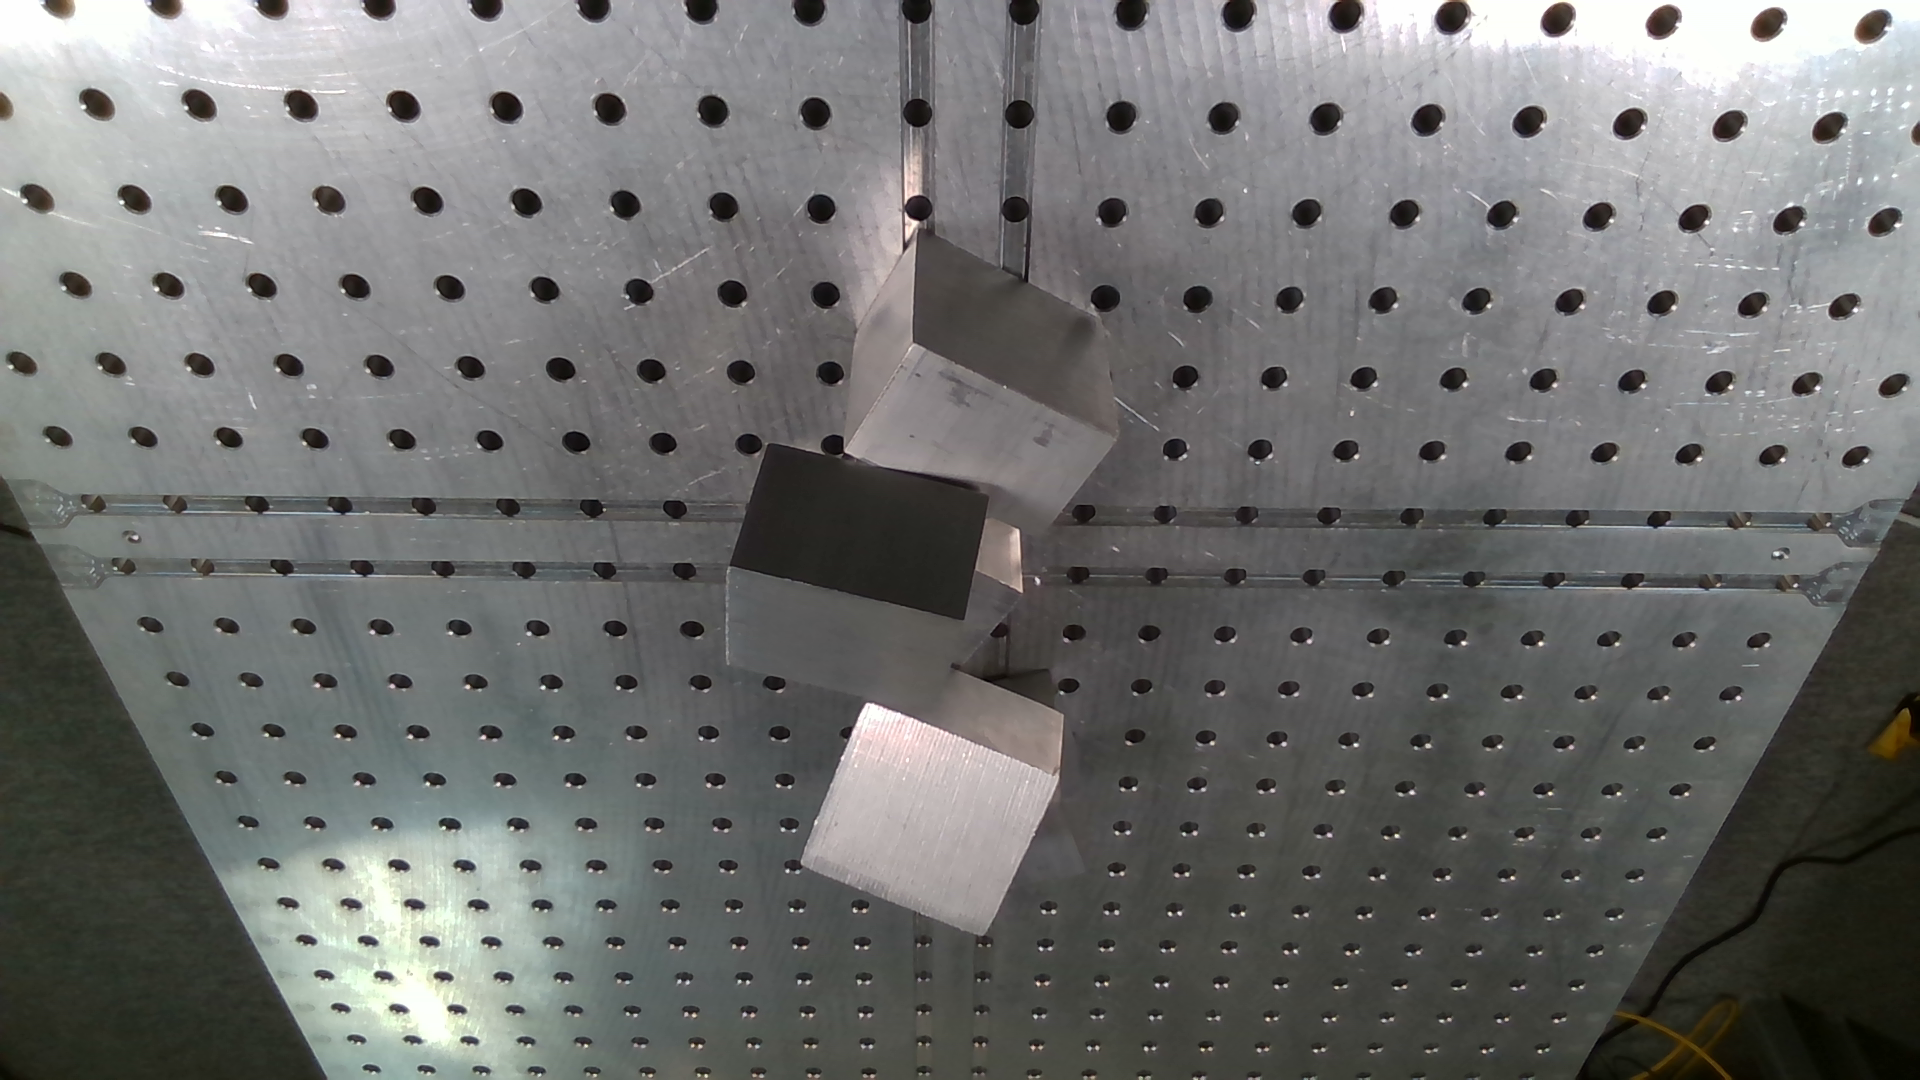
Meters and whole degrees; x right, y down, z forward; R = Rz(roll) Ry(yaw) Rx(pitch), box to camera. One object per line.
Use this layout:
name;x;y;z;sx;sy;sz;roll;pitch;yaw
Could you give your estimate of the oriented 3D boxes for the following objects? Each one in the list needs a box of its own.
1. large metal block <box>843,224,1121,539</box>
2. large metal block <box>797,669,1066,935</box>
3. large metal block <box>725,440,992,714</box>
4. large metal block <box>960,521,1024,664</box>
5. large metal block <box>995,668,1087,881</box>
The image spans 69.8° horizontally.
large metal block;0.007;-0.058;0.497;0.080;0.080;0.050;24;126;-19
large metal block;-0.011;0.100;0.560;0.080;0.050;0.080;22;112;-2
large metal block;-0.038;0.016;0.494;0.080;0.050;0.080;13;150;-2
large metal block;-0.029;0.015;0.578;0.080;0.050;0.080;26;125;-20
large metal block;0.012;0.113;0.641;0.080;0.080;0.050;-13;129;10
